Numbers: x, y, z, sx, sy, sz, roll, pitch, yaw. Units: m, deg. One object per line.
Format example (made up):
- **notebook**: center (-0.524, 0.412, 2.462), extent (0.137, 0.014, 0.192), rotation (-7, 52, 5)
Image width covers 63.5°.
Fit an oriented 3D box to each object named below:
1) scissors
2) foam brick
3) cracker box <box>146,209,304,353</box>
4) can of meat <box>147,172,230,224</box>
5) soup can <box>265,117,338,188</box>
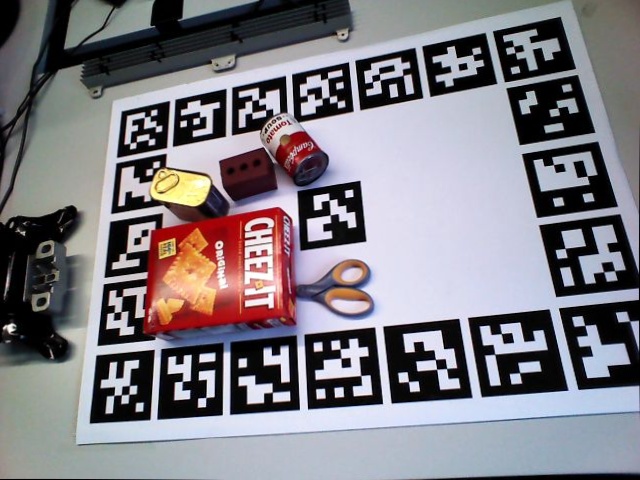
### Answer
- **scissors**: center (-0.022, 0.084, 0.738), extent (0.204, 0.016, 0.087), rotation (-13, 69, 11)
- **foam brick**: center (-0.108, -0.100, 0.820), extent (0.078, 0.051, 0.052), rotation (-19, 68, 8)
- **cracker box**: center (-0.144, 0.059, 0.747), extent (0.215, 0.072, 0.163), rotation (-15, 67, 14)
- **can of meat**: center (-0.203, -0.062, 0.812), extent (0.102, 0.084, 0.057), rotation (5, 73, 16)
- **soup can**: center (-0.030, -0.138, 0.810), extent (0.068, 0.068, 0.102), rotation (-44, 61, -2)
